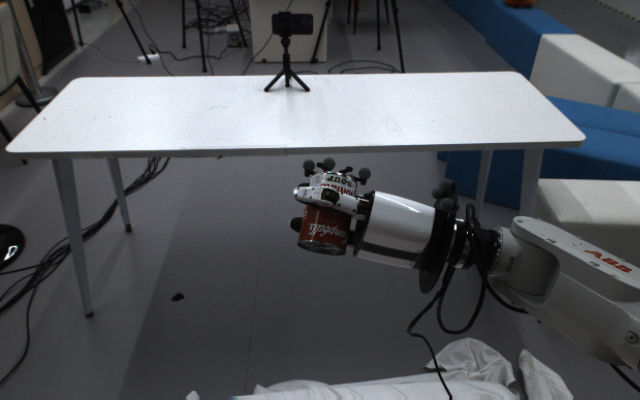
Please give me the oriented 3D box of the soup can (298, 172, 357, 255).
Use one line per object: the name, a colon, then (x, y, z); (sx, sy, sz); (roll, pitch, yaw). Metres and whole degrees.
soup can: (0.012, 0.019, 0.662); (0.067, 0.067, 0.101); (8, 72, 9)
